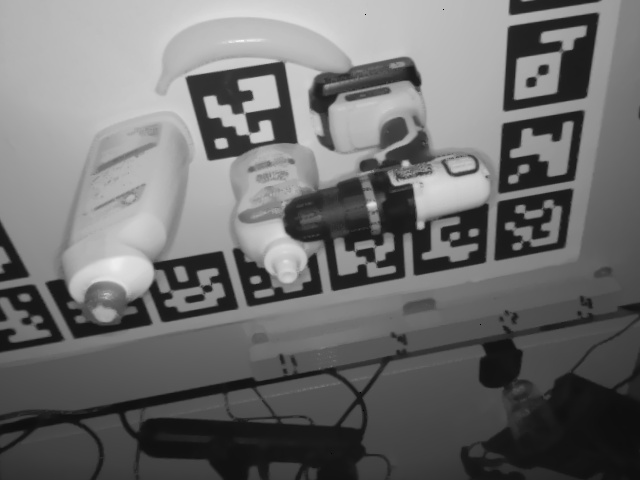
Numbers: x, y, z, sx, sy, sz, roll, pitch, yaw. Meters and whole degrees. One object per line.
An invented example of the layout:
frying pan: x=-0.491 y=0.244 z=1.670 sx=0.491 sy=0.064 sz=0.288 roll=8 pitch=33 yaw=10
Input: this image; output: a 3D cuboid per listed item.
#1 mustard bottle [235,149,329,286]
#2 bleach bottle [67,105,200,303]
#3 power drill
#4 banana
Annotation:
mustard bottle: x=-0.036 y=-0.022 z=0.696 sx=0.096 sy=0.192 sz=0.058 roll=-7 pitch=127 yaw=-1
bleach bottle: x=-0.168 y=-0.036 z=0.637 sx=0.102 sy=0.252 sz=0.067 roll=-15 pitch=125 yaw=3
power drill: x=0.061 y=-0.074 z=0.651 sx=0.185 sy=0.188 sz=0.057 roll=-9 pitch=133 yaw=1
banana: x=-0.063 y=-0.178 z=0.671 sx=0.198 sy=0.039 sz=0.073 roll=-7 pitch=122 yaw=-6
